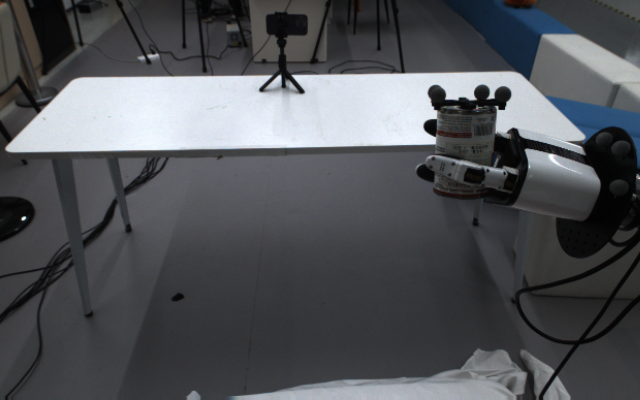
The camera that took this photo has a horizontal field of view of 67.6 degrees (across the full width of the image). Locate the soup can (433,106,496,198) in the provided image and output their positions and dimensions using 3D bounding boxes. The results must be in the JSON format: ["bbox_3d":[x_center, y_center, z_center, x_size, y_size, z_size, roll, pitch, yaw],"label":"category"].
[{"bbox_3d":[0.172,-0.058,0.569,0.067,0.101,0.067,-2,17,0],"label":"soup can"}]
